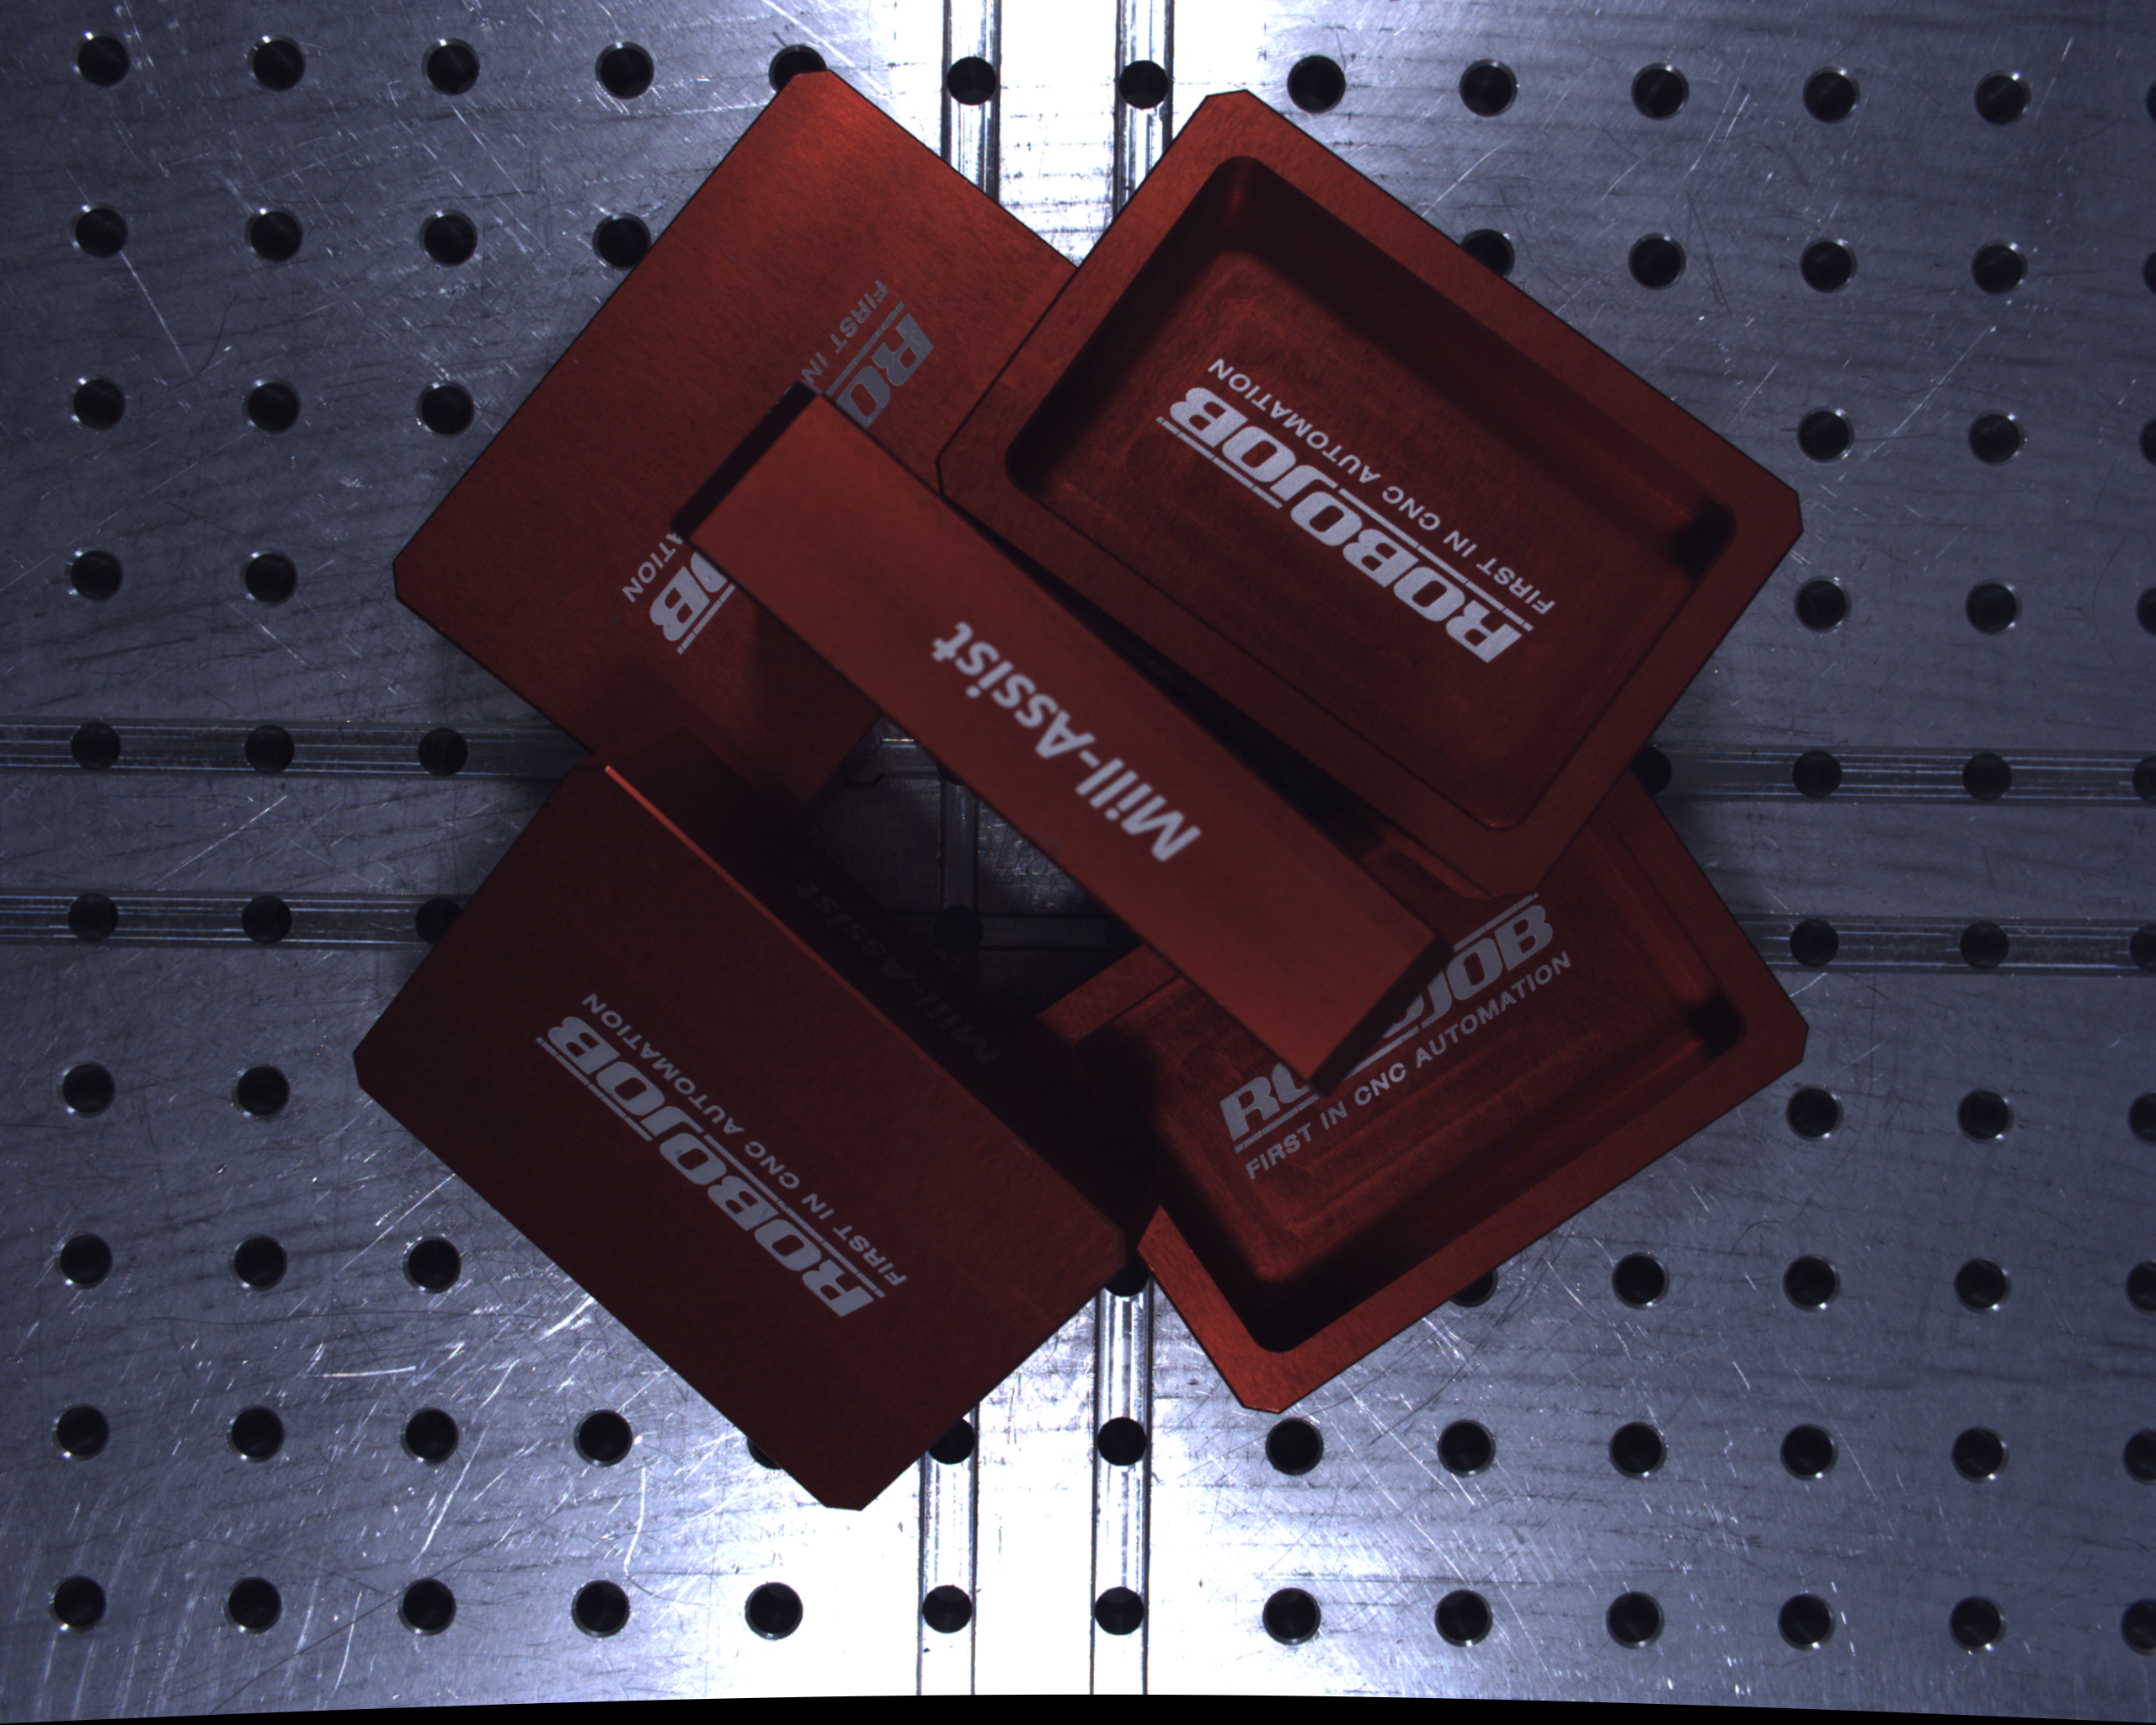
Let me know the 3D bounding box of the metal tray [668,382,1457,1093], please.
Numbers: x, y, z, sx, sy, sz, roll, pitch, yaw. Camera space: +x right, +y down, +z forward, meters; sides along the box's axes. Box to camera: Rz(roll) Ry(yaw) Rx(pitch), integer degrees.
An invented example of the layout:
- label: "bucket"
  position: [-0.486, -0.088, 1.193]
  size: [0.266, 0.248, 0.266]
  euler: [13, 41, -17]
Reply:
- label: "metal tray"
  position: [-0.002, -0.019, 0.350]
  size: [0.130, 0.090, 0.030]
  euler: [41, 90, -1]

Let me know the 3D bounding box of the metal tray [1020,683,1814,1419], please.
- label: "metal tray"
  position: [0.063, 0.035, 0.410]
  size: [0.130, 0.030, 0.090]
  euler: [-34, 90, -1]

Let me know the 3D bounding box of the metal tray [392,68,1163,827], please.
- label: "metal tray"
  position: [-0.057, -0.076, 0.409]
  size: [0.090, 0.030, 0.130]
  euler: [39, 90, -1]

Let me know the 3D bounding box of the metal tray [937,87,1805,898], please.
- label: "metal tray"
  position: [0.052, -0.065, 0.381]
  size: [0.130, 0.030, 0.090]
  euler: [36, 90, -1]

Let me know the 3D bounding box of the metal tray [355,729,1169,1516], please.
- label: "metal tray"
  position: [-0.060, 0.050, 0.391]
  size: [0.130, 0.030, 0.090]
  euler: [42, 115, -1]
